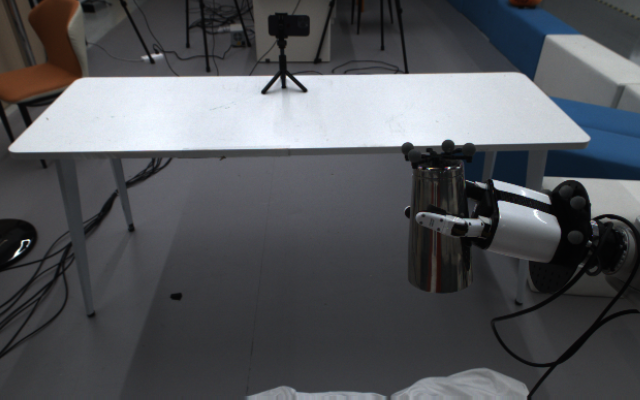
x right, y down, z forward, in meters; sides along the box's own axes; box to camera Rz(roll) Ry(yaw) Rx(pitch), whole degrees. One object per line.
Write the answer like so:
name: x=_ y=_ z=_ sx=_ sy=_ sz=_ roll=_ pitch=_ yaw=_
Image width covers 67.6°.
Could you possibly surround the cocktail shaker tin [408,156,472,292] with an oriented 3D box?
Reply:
cocktail shaker tin: x=0.164 y=0.030 z=0.667 sx=0.093 sy=0.170 sz=0.093 roll=-6 pitch=19 yaw=2
